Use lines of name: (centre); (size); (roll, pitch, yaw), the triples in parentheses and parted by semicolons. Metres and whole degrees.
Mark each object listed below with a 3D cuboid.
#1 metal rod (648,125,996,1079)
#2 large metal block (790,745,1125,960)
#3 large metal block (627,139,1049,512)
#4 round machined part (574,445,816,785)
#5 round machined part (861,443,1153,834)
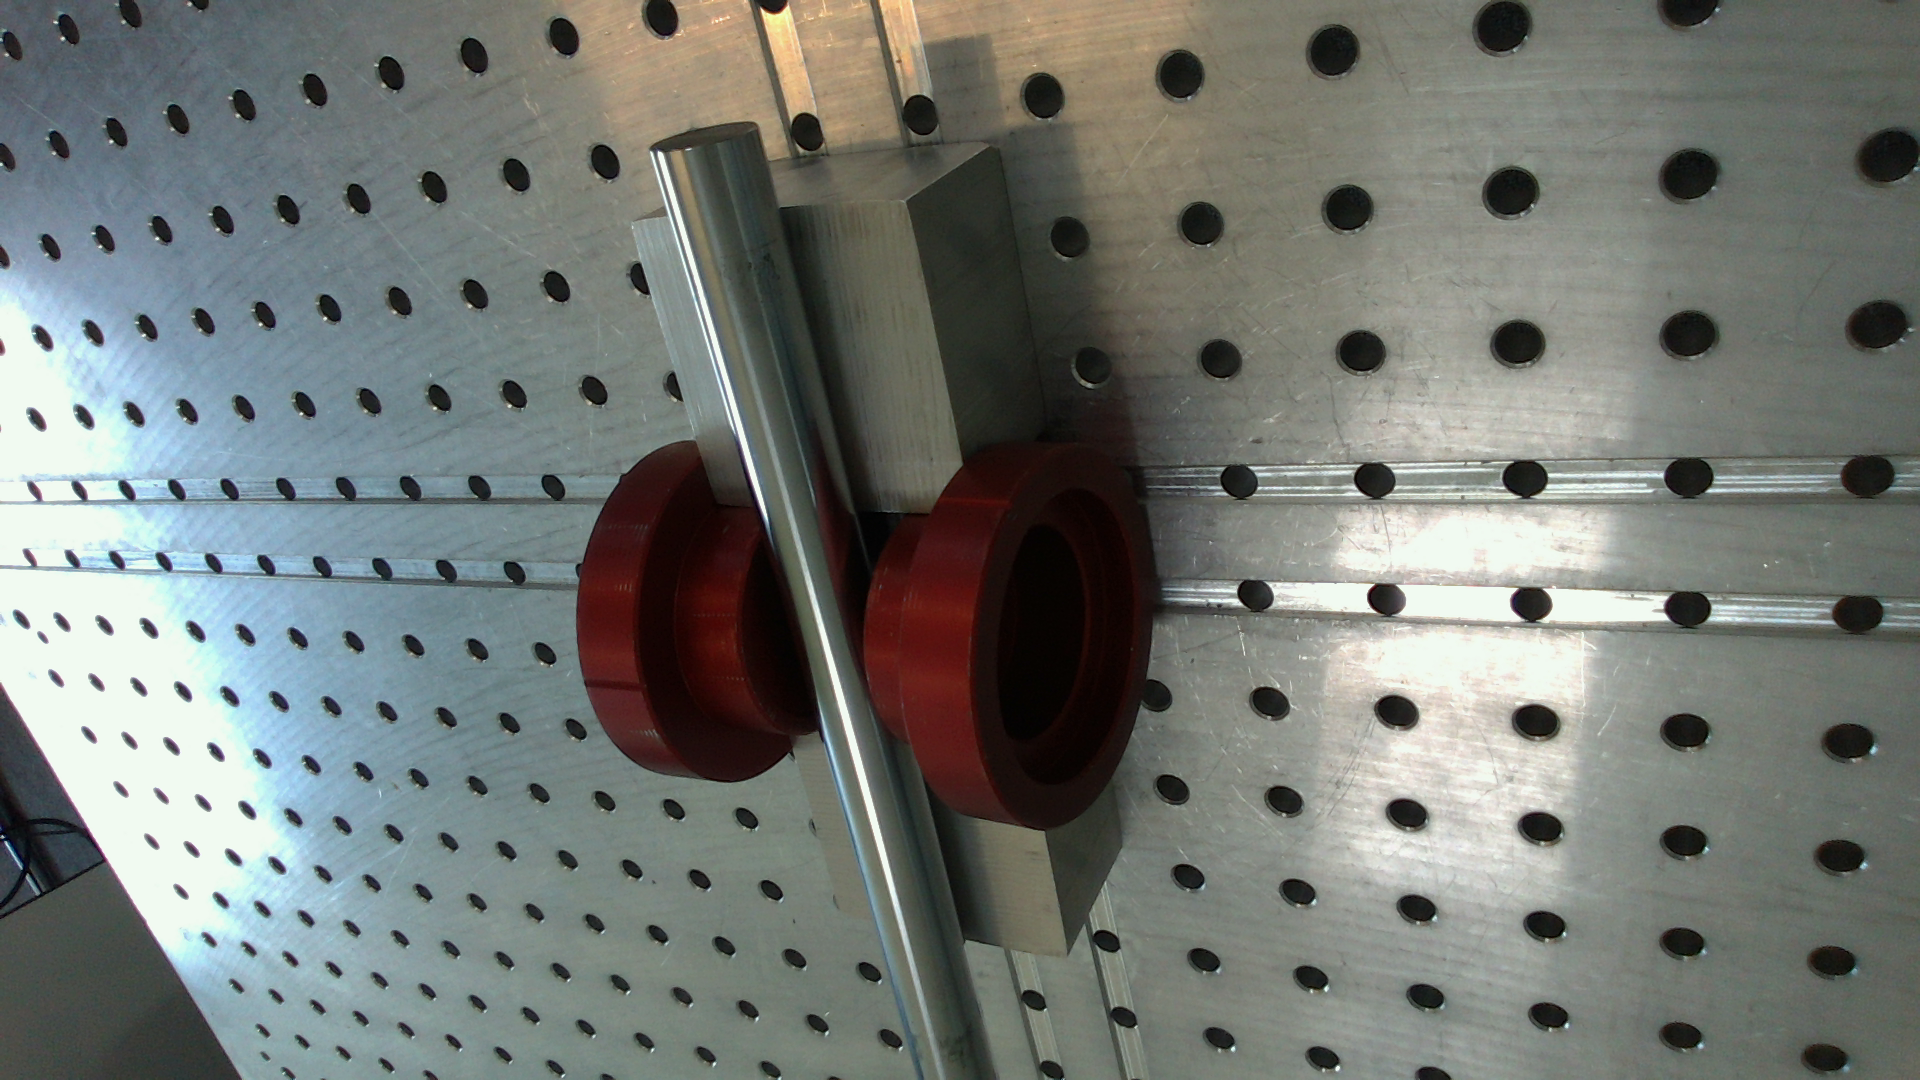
metal rod: (-0.028, 0.042, 0.372); (0.025, 0.025, 0.300); (2, 120, 27)
large metal block: (0.000, 0.075, 0.426); (0.080, 0.050, 0.080); (3, 120, 27)
large metal block: (-0.029, -0.055, 0.361); (0.080, 0.050, 0.080); (2, 120, 27)
round machined part: (-0.060, 0.021, 0.393); (0.042, 0.098, 0.098); (2, 119, 28)
round machined part: (0.011, 0.023, 0.357); (0.042, 0.098, 0.098); (4, 121, 32)
